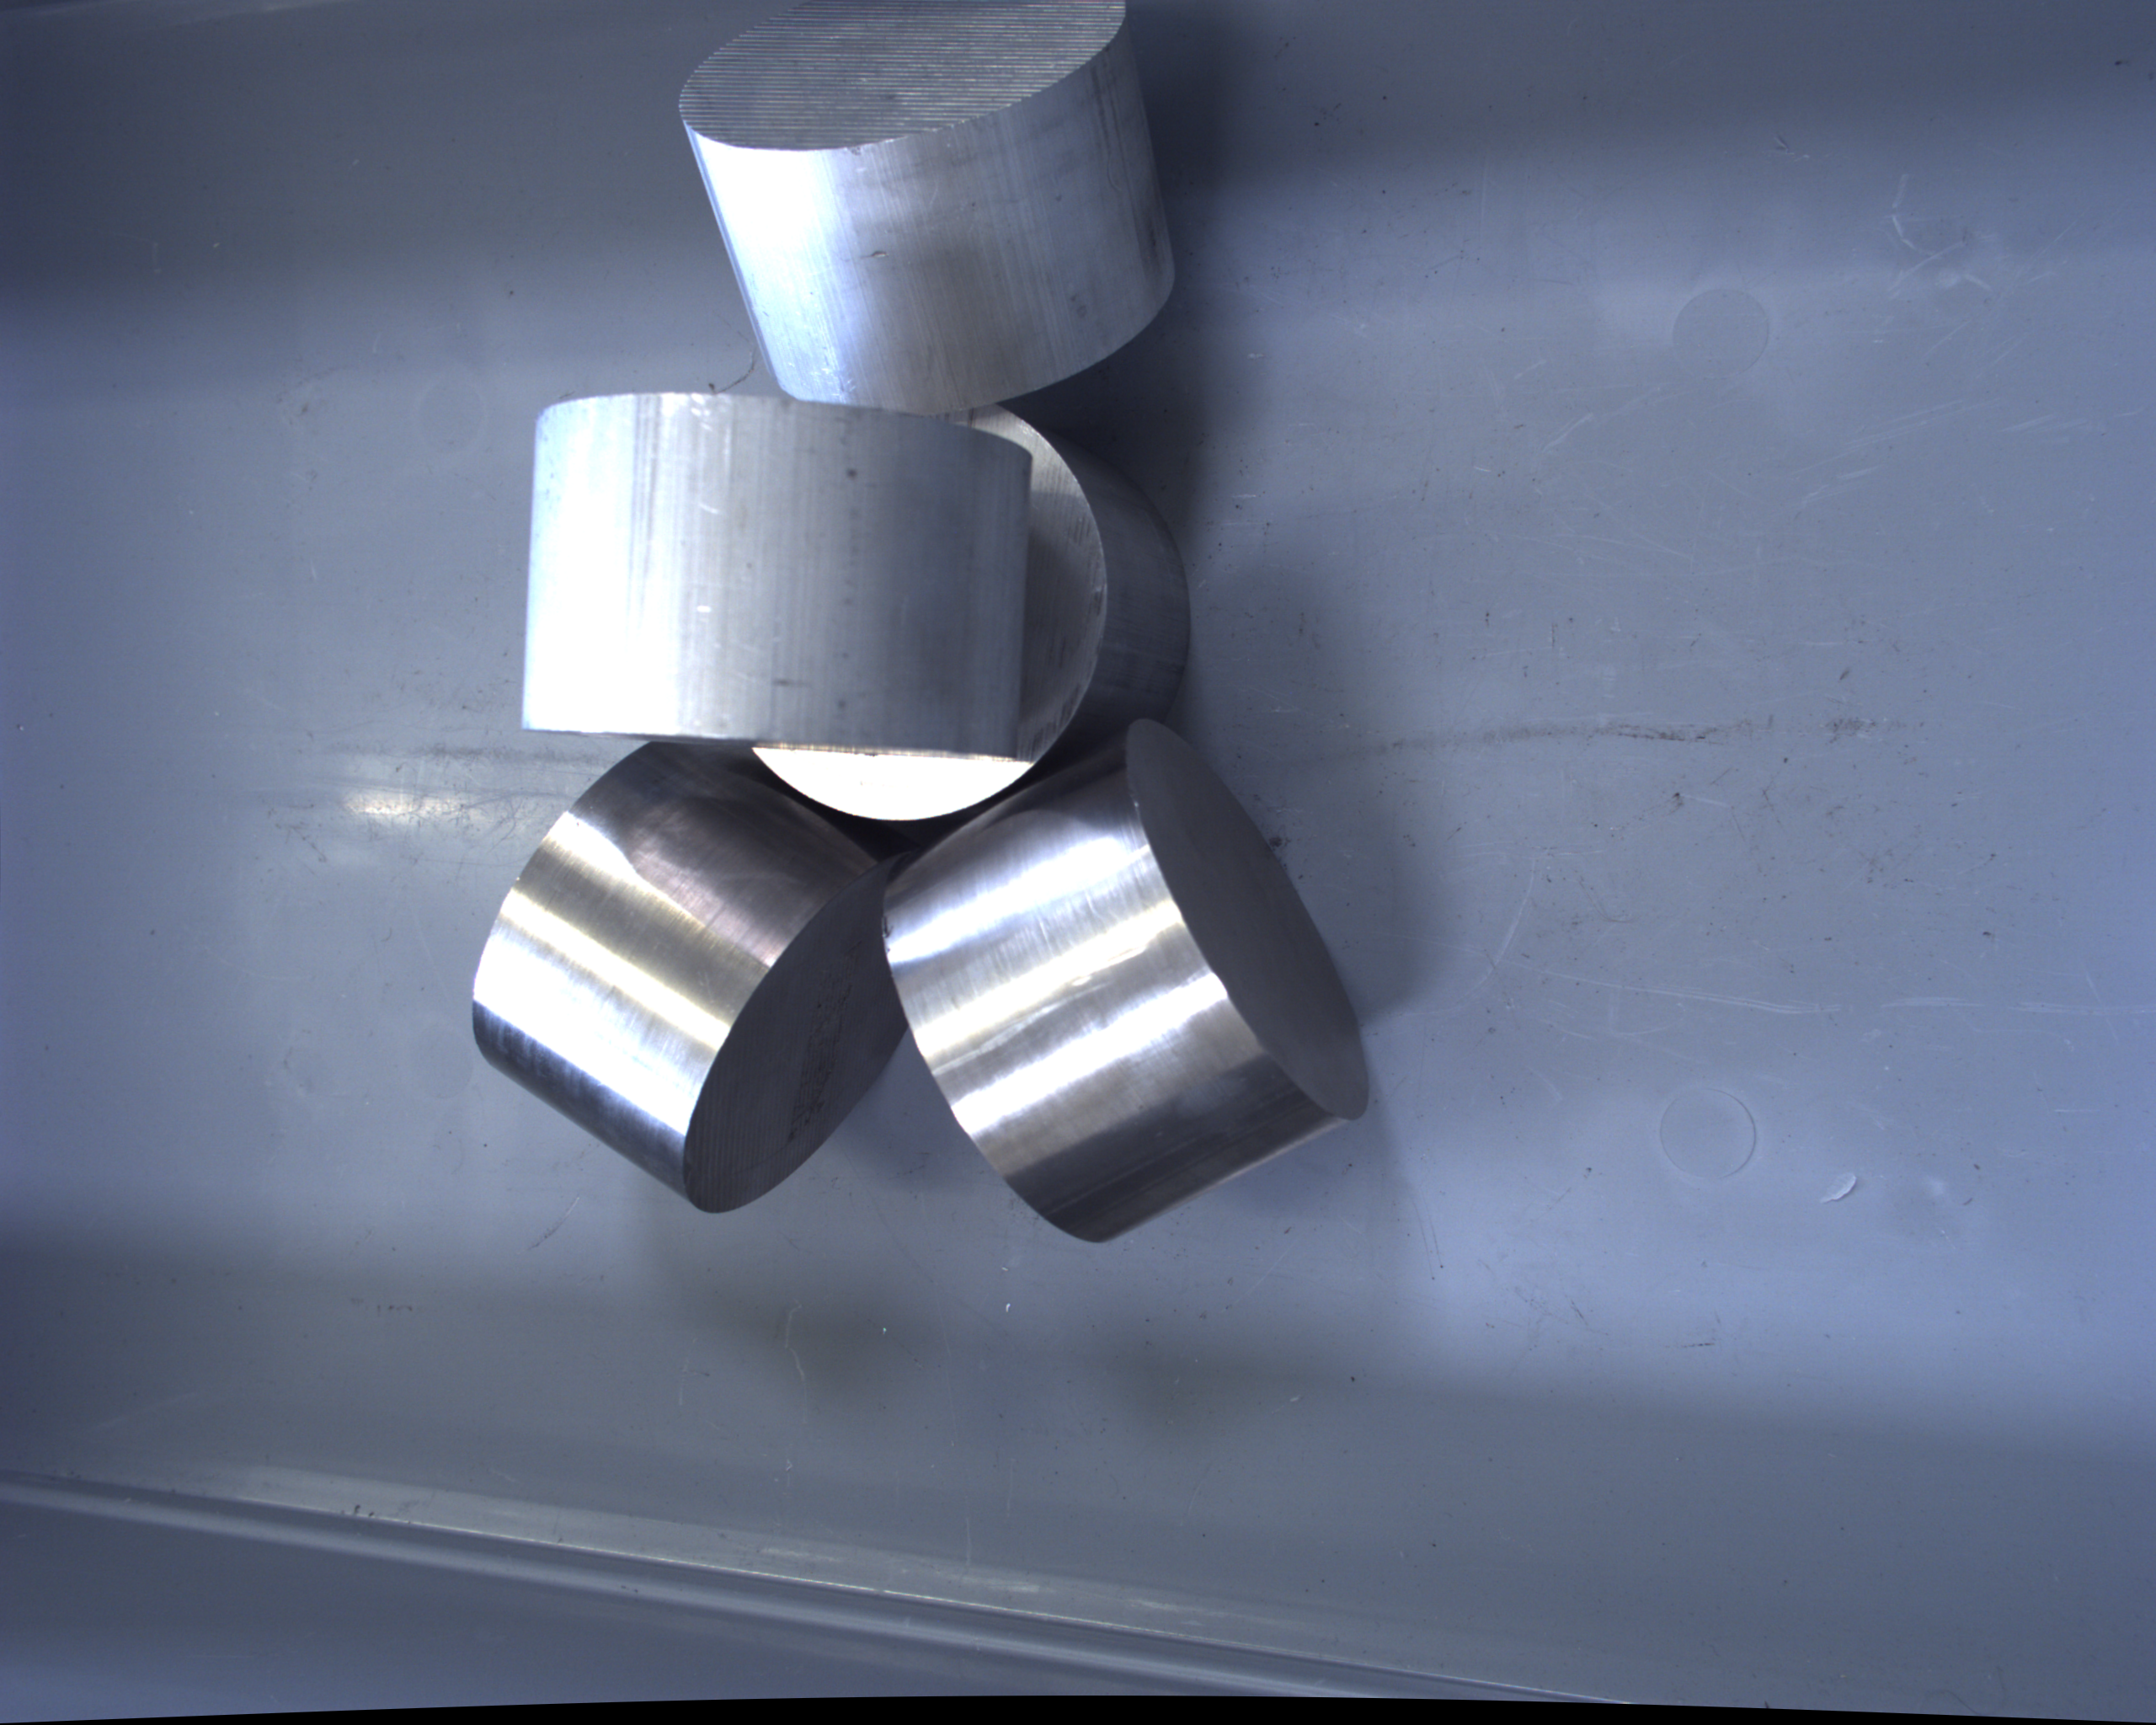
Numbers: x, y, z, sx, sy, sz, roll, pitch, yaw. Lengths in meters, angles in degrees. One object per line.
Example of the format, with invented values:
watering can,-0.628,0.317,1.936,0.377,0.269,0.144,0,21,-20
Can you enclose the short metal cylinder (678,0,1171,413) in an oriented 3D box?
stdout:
short metal cylinder,-0.027,-0.125,0.382,0.080,0.080,0.050,4,134,20

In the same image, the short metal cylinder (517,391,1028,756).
short metal cylinder,-0.050,-0.044,0.343,0.080,0.080,0.050,4,91,20

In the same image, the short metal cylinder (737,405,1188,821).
short metal cylinder,-0.025,-0.047,0.403,0.080,0.050,0.080,0,90,20

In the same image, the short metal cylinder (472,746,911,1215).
short metal cylinder,-0.069,0.021,0.404,0.050,0.080,0.080,31,100,18

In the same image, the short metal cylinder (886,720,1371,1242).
short metal cylinder,0.010,0.021,0.376,0.050,0.080,0.080,-30,80,18
